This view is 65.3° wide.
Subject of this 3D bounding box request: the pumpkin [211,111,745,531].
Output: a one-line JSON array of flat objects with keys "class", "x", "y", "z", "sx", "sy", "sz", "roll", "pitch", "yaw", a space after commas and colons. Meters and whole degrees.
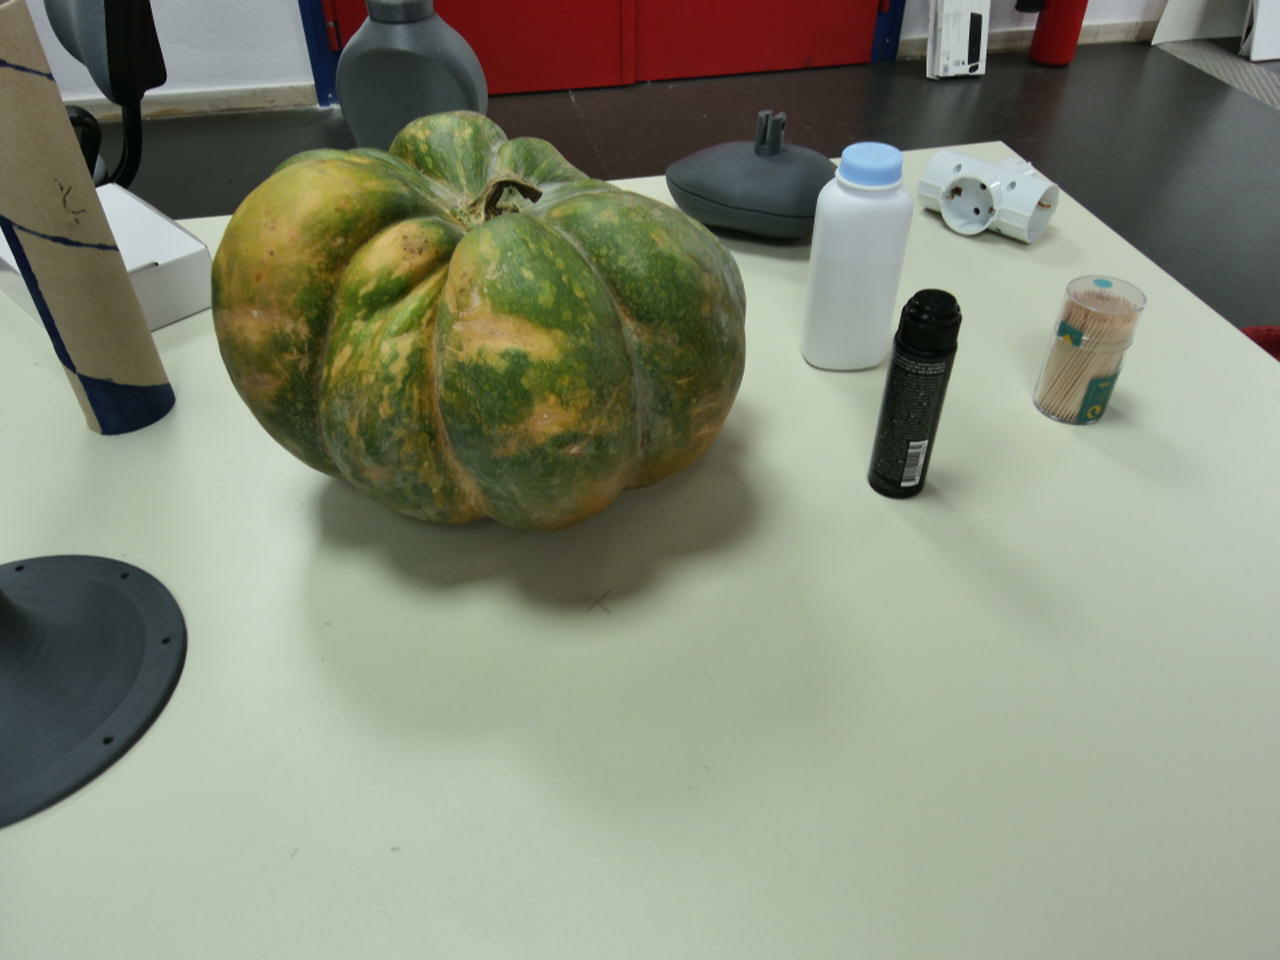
[{"class": "pumpkin", "x": -0.075, "y": -0.086, "z": 0.502, "sx": 0.270, "sy": 0.173, "sz": 0.237, "roll": 16, "pitch": 42, "yaw": 19}]
